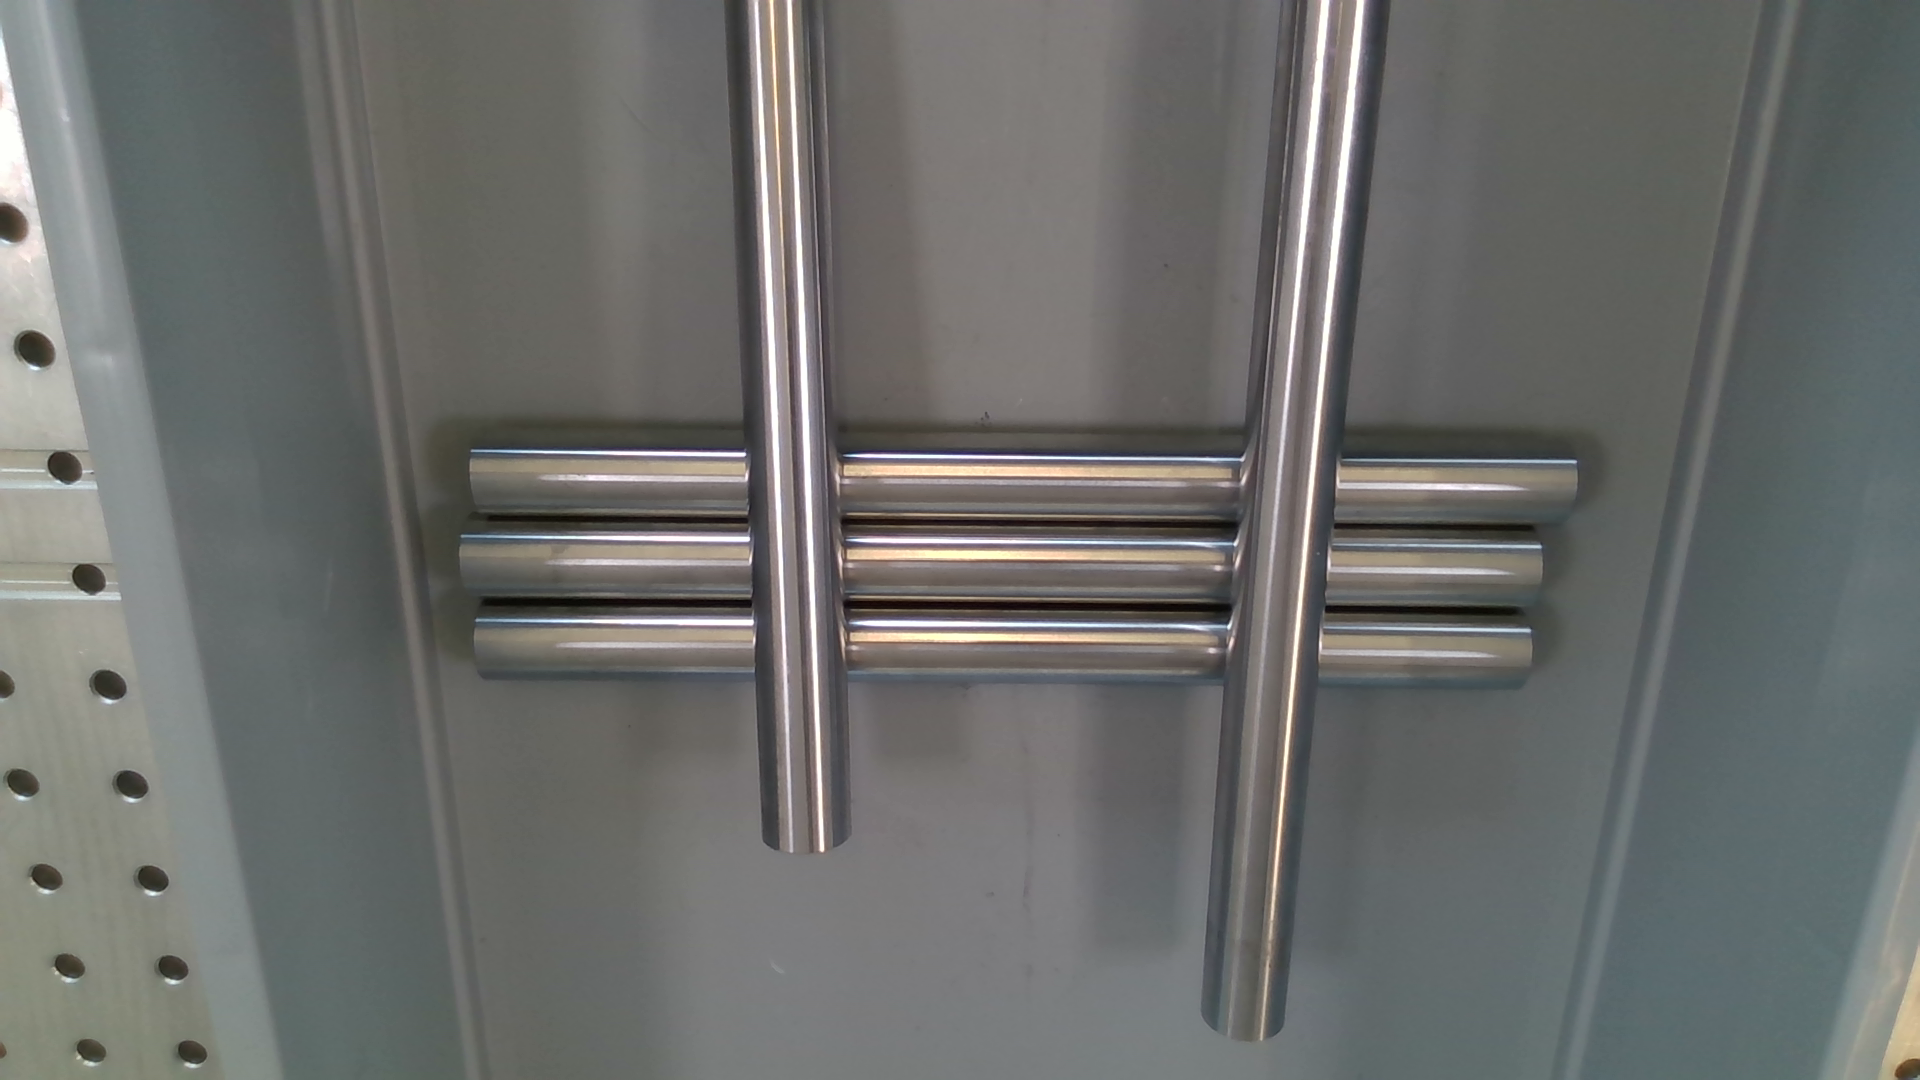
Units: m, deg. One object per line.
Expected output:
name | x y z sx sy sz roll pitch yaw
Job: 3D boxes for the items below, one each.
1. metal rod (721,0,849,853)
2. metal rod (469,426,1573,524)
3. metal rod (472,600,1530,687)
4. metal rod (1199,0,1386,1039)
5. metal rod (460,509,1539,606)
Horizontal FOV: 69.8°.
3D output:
metal rod | -0.045 -0.065 0.350 0.025 0.025 0.300 0 103 0
metal rod | 0.017 -0.018 0.387 0.300 0.025 0.025 0 110 0
metal rod | 0.012 0.029 0.403 0.300 0.025 0.025 1 110 0
metal rod | 0.086 0.002 0.367 0.025 0.025 0.301 0 110 0
metal rod | 0.011 0.005 0.395 0.300 0.025 0.025 1 110 0
